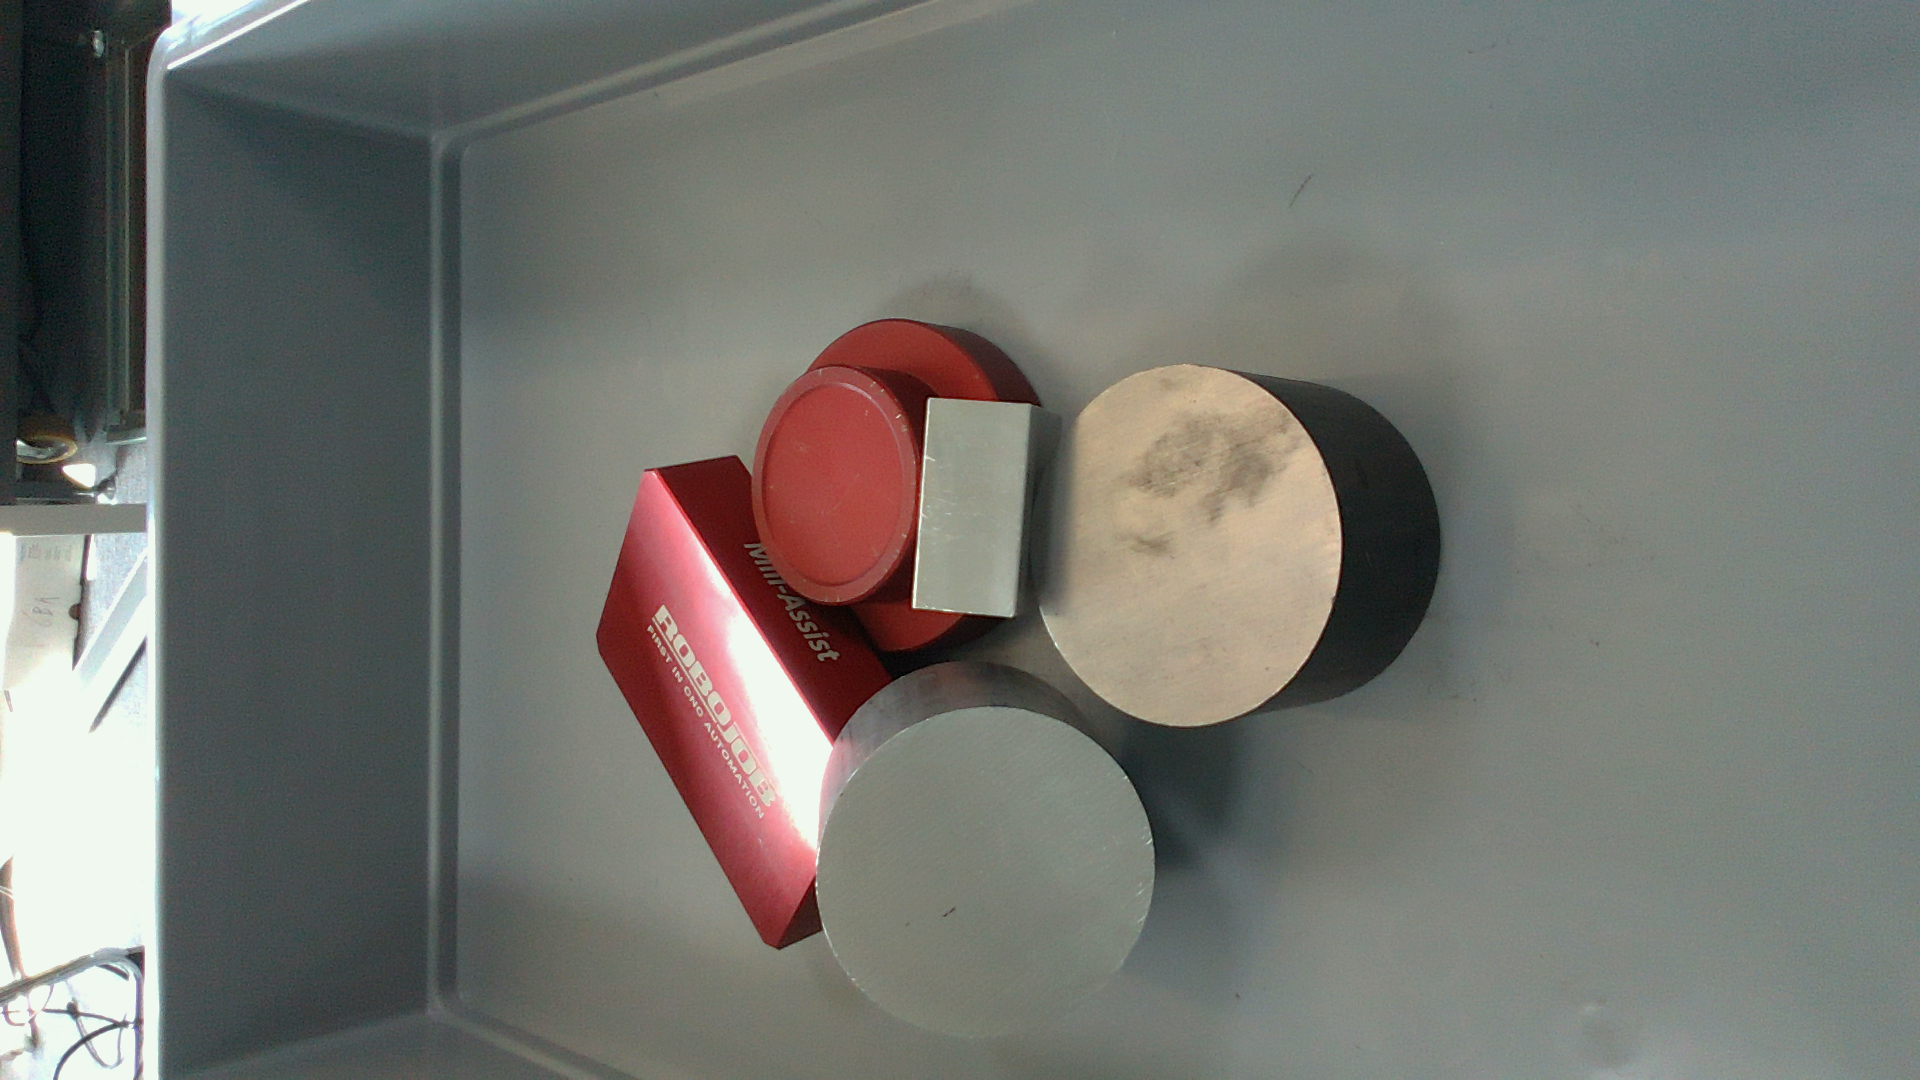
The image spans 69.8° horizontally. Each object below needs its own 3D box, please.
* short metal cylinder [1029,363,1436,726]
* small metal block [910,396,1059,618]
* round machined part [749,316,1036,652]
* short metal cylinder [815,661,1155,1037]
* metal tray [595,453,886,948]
[{"bbox_3d":[0.063,0.001,0.324,0.080,0.050,0.080,0,90,40],"label":"short metal cylinder"},{"bbox_3d":[0.008,-0.009,0.346,0.025,0.050,0.050,5,93,12],"label":"small metal block"},{"bbox_3d":[-0.024,-0.016,0.401,0.098,0.042,0.098,0,90,40],"label":"round machined part"},{"bbox_3d":[0.004,0.075,0.346,0.050,0.080,0.080,-132,49,-81],"label":"short metal cylinder"},{"bbox_3d":[-0.066,0.048,0.431,0.130,0.030,0.090,53,136,27],"label":"metal tray"}]
